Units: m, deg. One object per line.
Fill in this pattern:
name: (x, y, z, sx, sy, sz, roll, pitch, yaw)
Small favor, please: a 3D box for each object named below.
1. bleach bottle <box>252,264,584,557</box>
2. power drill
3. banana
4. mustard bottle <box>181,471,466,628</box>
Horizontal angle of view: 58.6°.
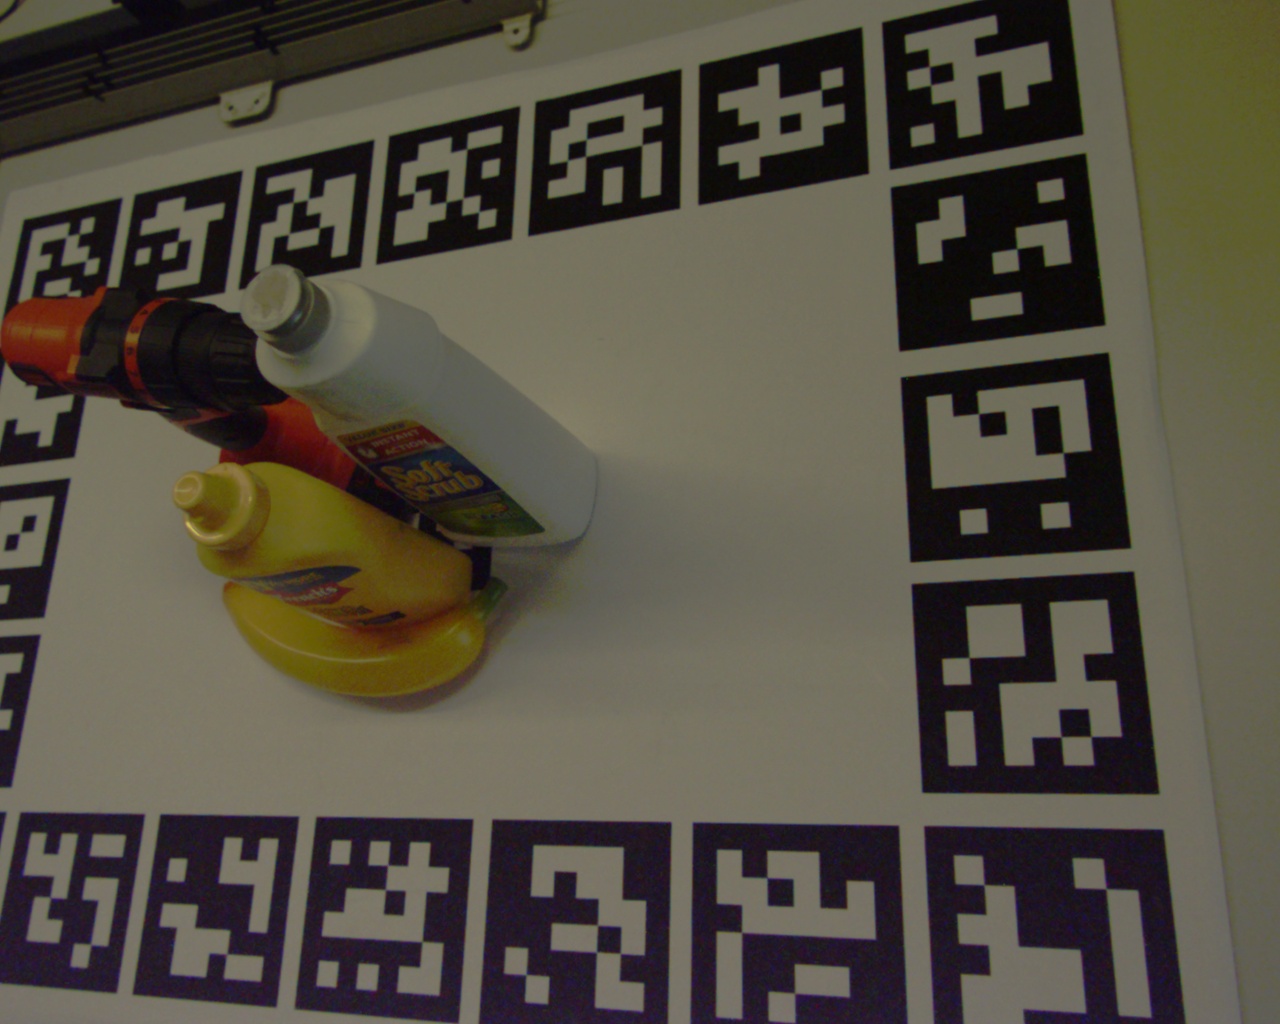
bleach bottle: (-0.118, -0.047, 0.591, 0.103, 0.248, 0.068, -2, 68, 21)
power drill: (-0.221, -0.051, 0.637, 0.186, 0.185, 0.057, 8, 76, 22)
banana: (-0.169, 0.072, 0.696, 0.199, 0.038, 0.074, 0, 76, 24)
mustard bottle: (-0.178, 0.020, 0.621, 0.097, 0.189, 0.058, -4, 73, 19)
